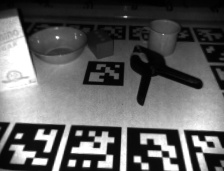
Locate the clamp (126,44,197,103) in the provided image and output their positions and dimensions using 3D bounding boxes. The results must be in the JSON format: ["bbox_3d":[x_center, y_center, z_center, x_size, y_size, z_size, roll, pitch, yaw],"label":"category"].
[{"bbox_3d":[0.094,-0.053,0.557,0.166,0.037,0.200,-15,49,-13],"label":"clamp"}]

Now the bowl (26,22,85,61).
[{"bbox_3d":[-0.155,-0.118,0.611,0.162,0.055,0.161,2,45,-1],"label":"bowl"}]

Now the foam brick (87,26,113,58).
[{"bbox_3d":[-0.037,-0.127,0.634,0.053,0.051,0.077,-18,49,-16],"label":"foam brick"}]

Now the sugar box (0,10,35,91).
[{"bbox_3d":[-0.237,-0.070,0.477,0.093,0.177,0.045,-16,49,-17],"label":"sugar box"}]

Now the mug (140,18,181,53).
[{"bbox_3d":[0.134,-0.155,0.633,0.116,0.082,0.093,24,50,17],"label":"mug"}]
